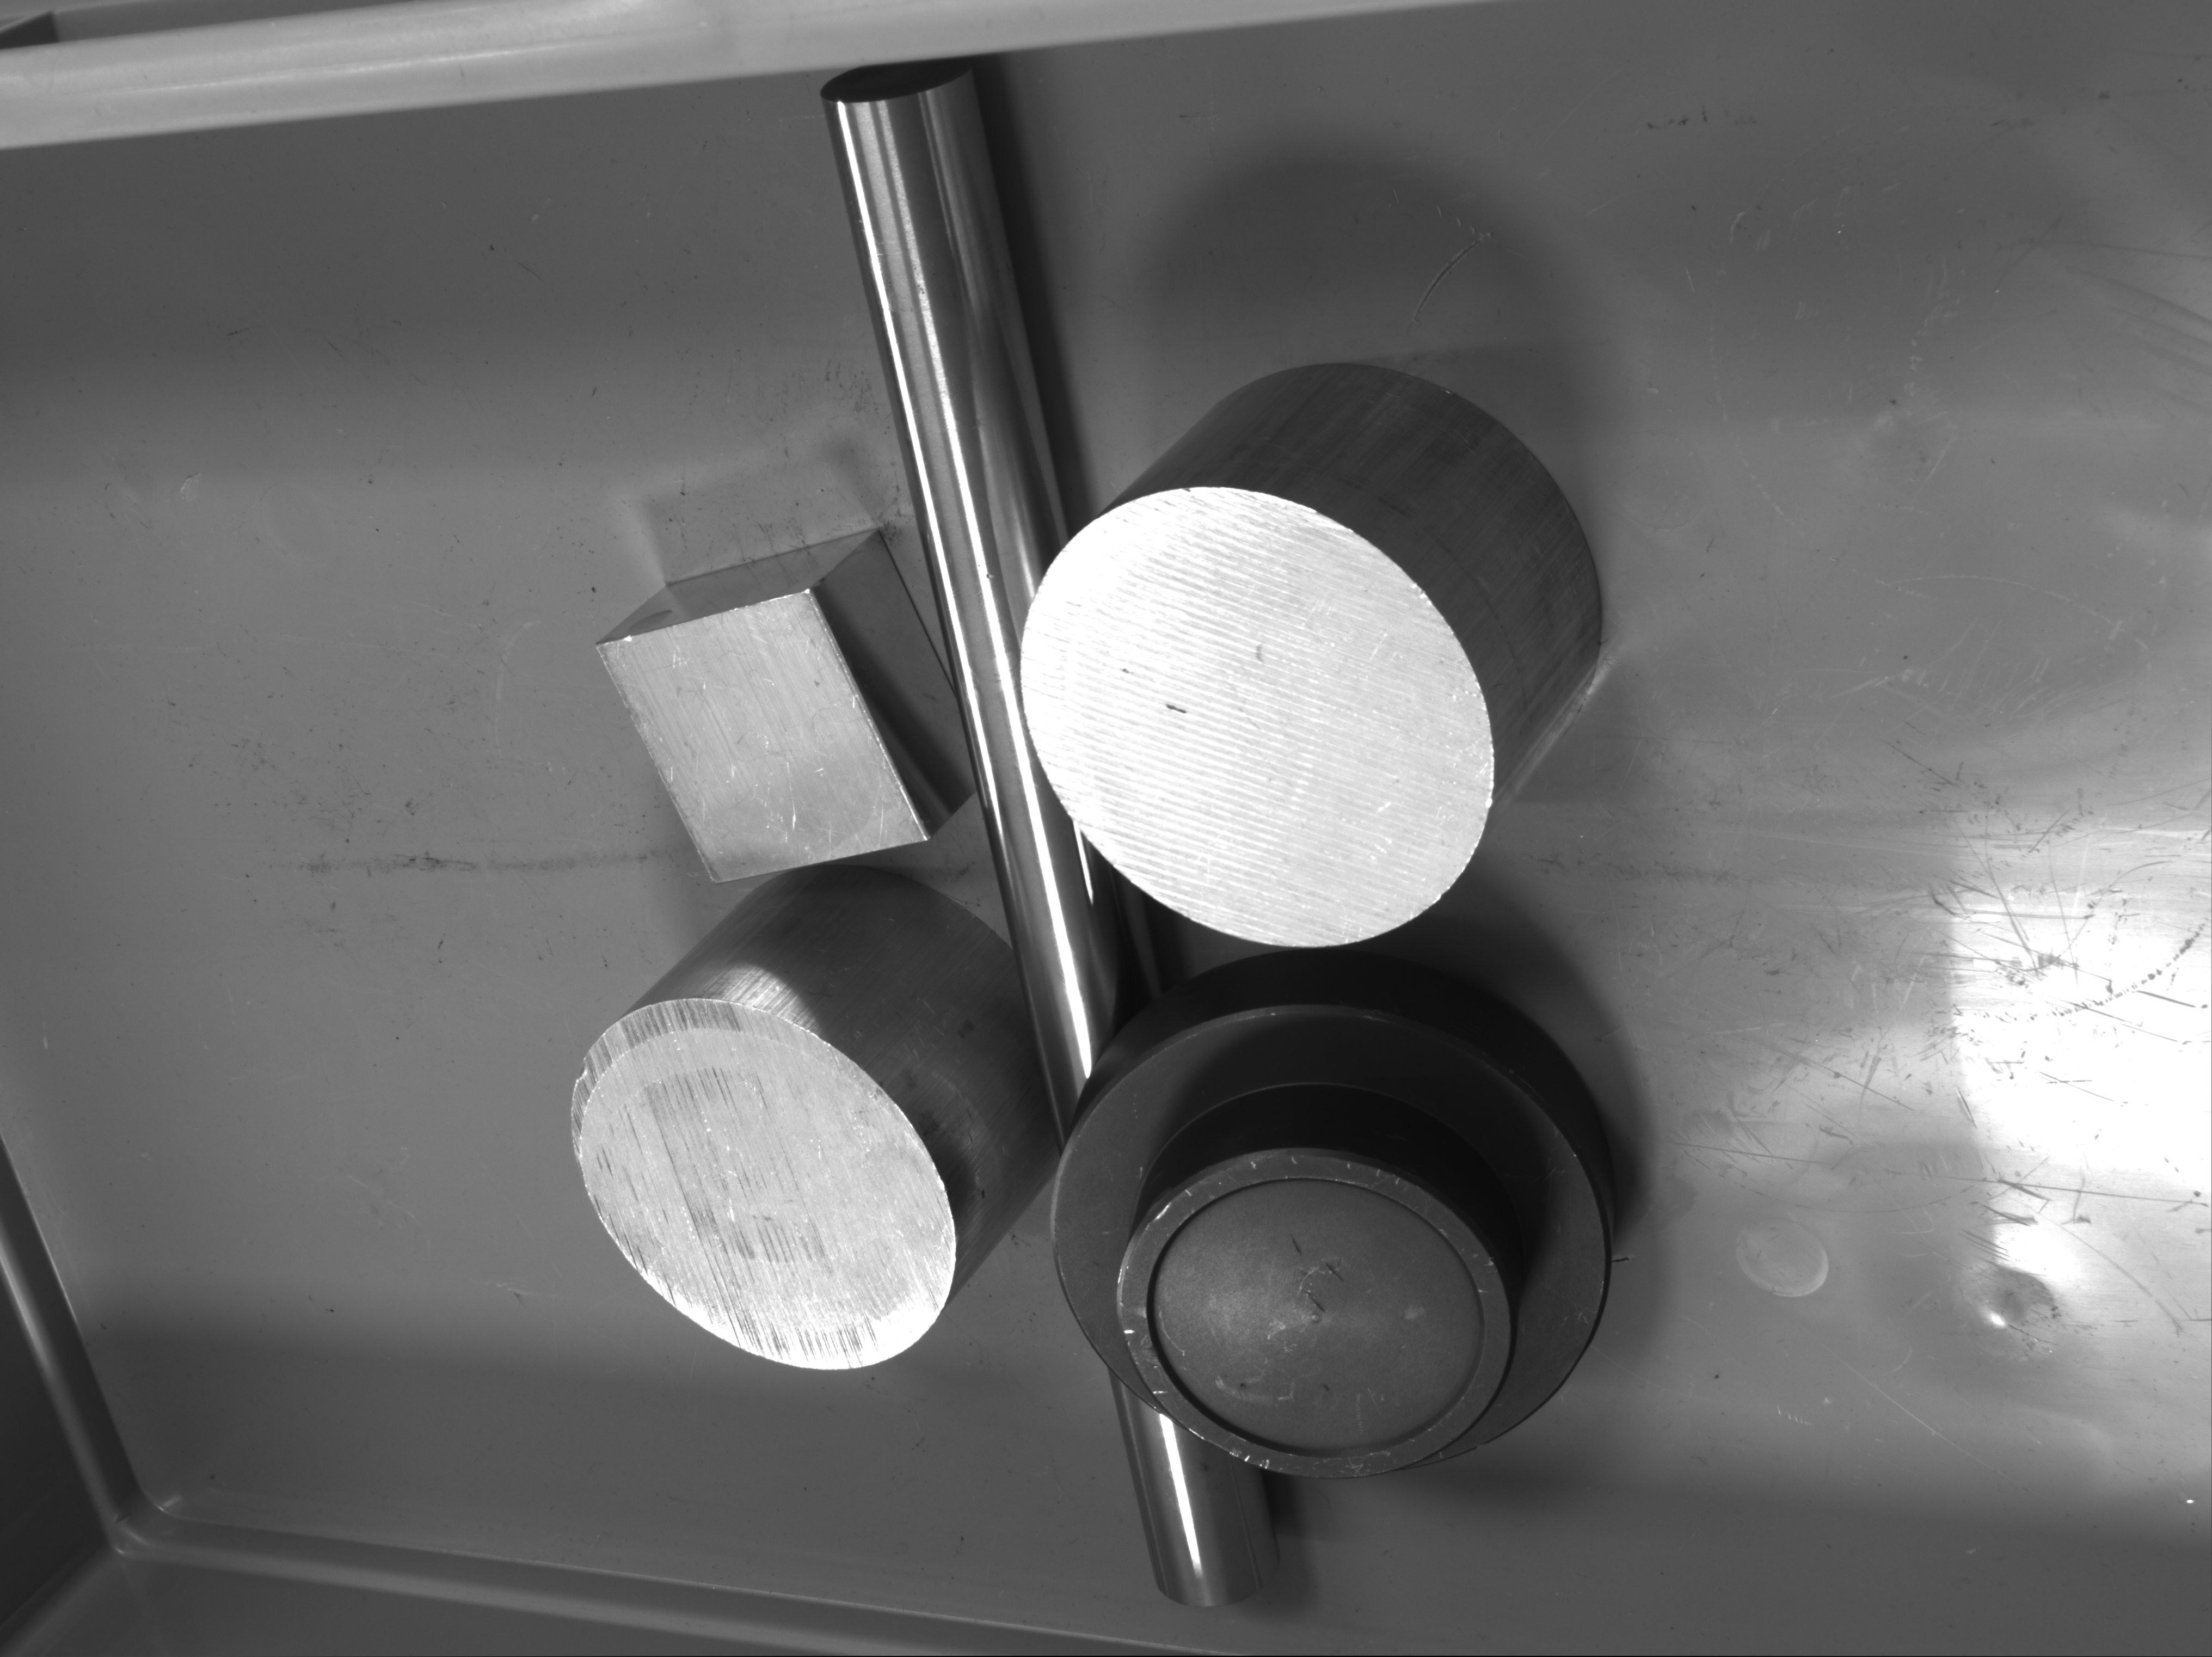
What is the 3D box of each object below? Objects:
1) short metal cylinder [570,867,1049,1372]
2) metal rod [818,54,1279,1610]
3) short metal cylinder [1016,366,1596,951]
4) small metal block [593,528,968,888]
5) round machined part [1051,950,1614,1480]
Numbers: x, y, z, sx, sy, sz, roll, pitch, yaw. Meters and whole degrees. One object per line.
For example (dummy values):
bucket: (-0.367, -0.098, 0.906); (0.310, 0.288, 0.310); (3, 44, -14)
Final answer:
short metal cylinder: (-0.052, 0.054, 0.685); (0.080, 0.050, 0.080); (13, 124, 21)
metal rod: (-0.006, 0.012, 0.651); (0.025, 0.025, 0.300); (3, 120, 27)
short metal cylinder: (0.033, -0.028, 0.590); (0.080, 0.050, 0.080); (13, 124, 21)
small metal block: (-0.056, -0.021, 0.658); (0.050, 0.025, 0.050); (-12, 112, 33)
round machined part: (0.038, 0.074, 0.639); (0.098, 0.042, 0.098); (4, 117, 8)
